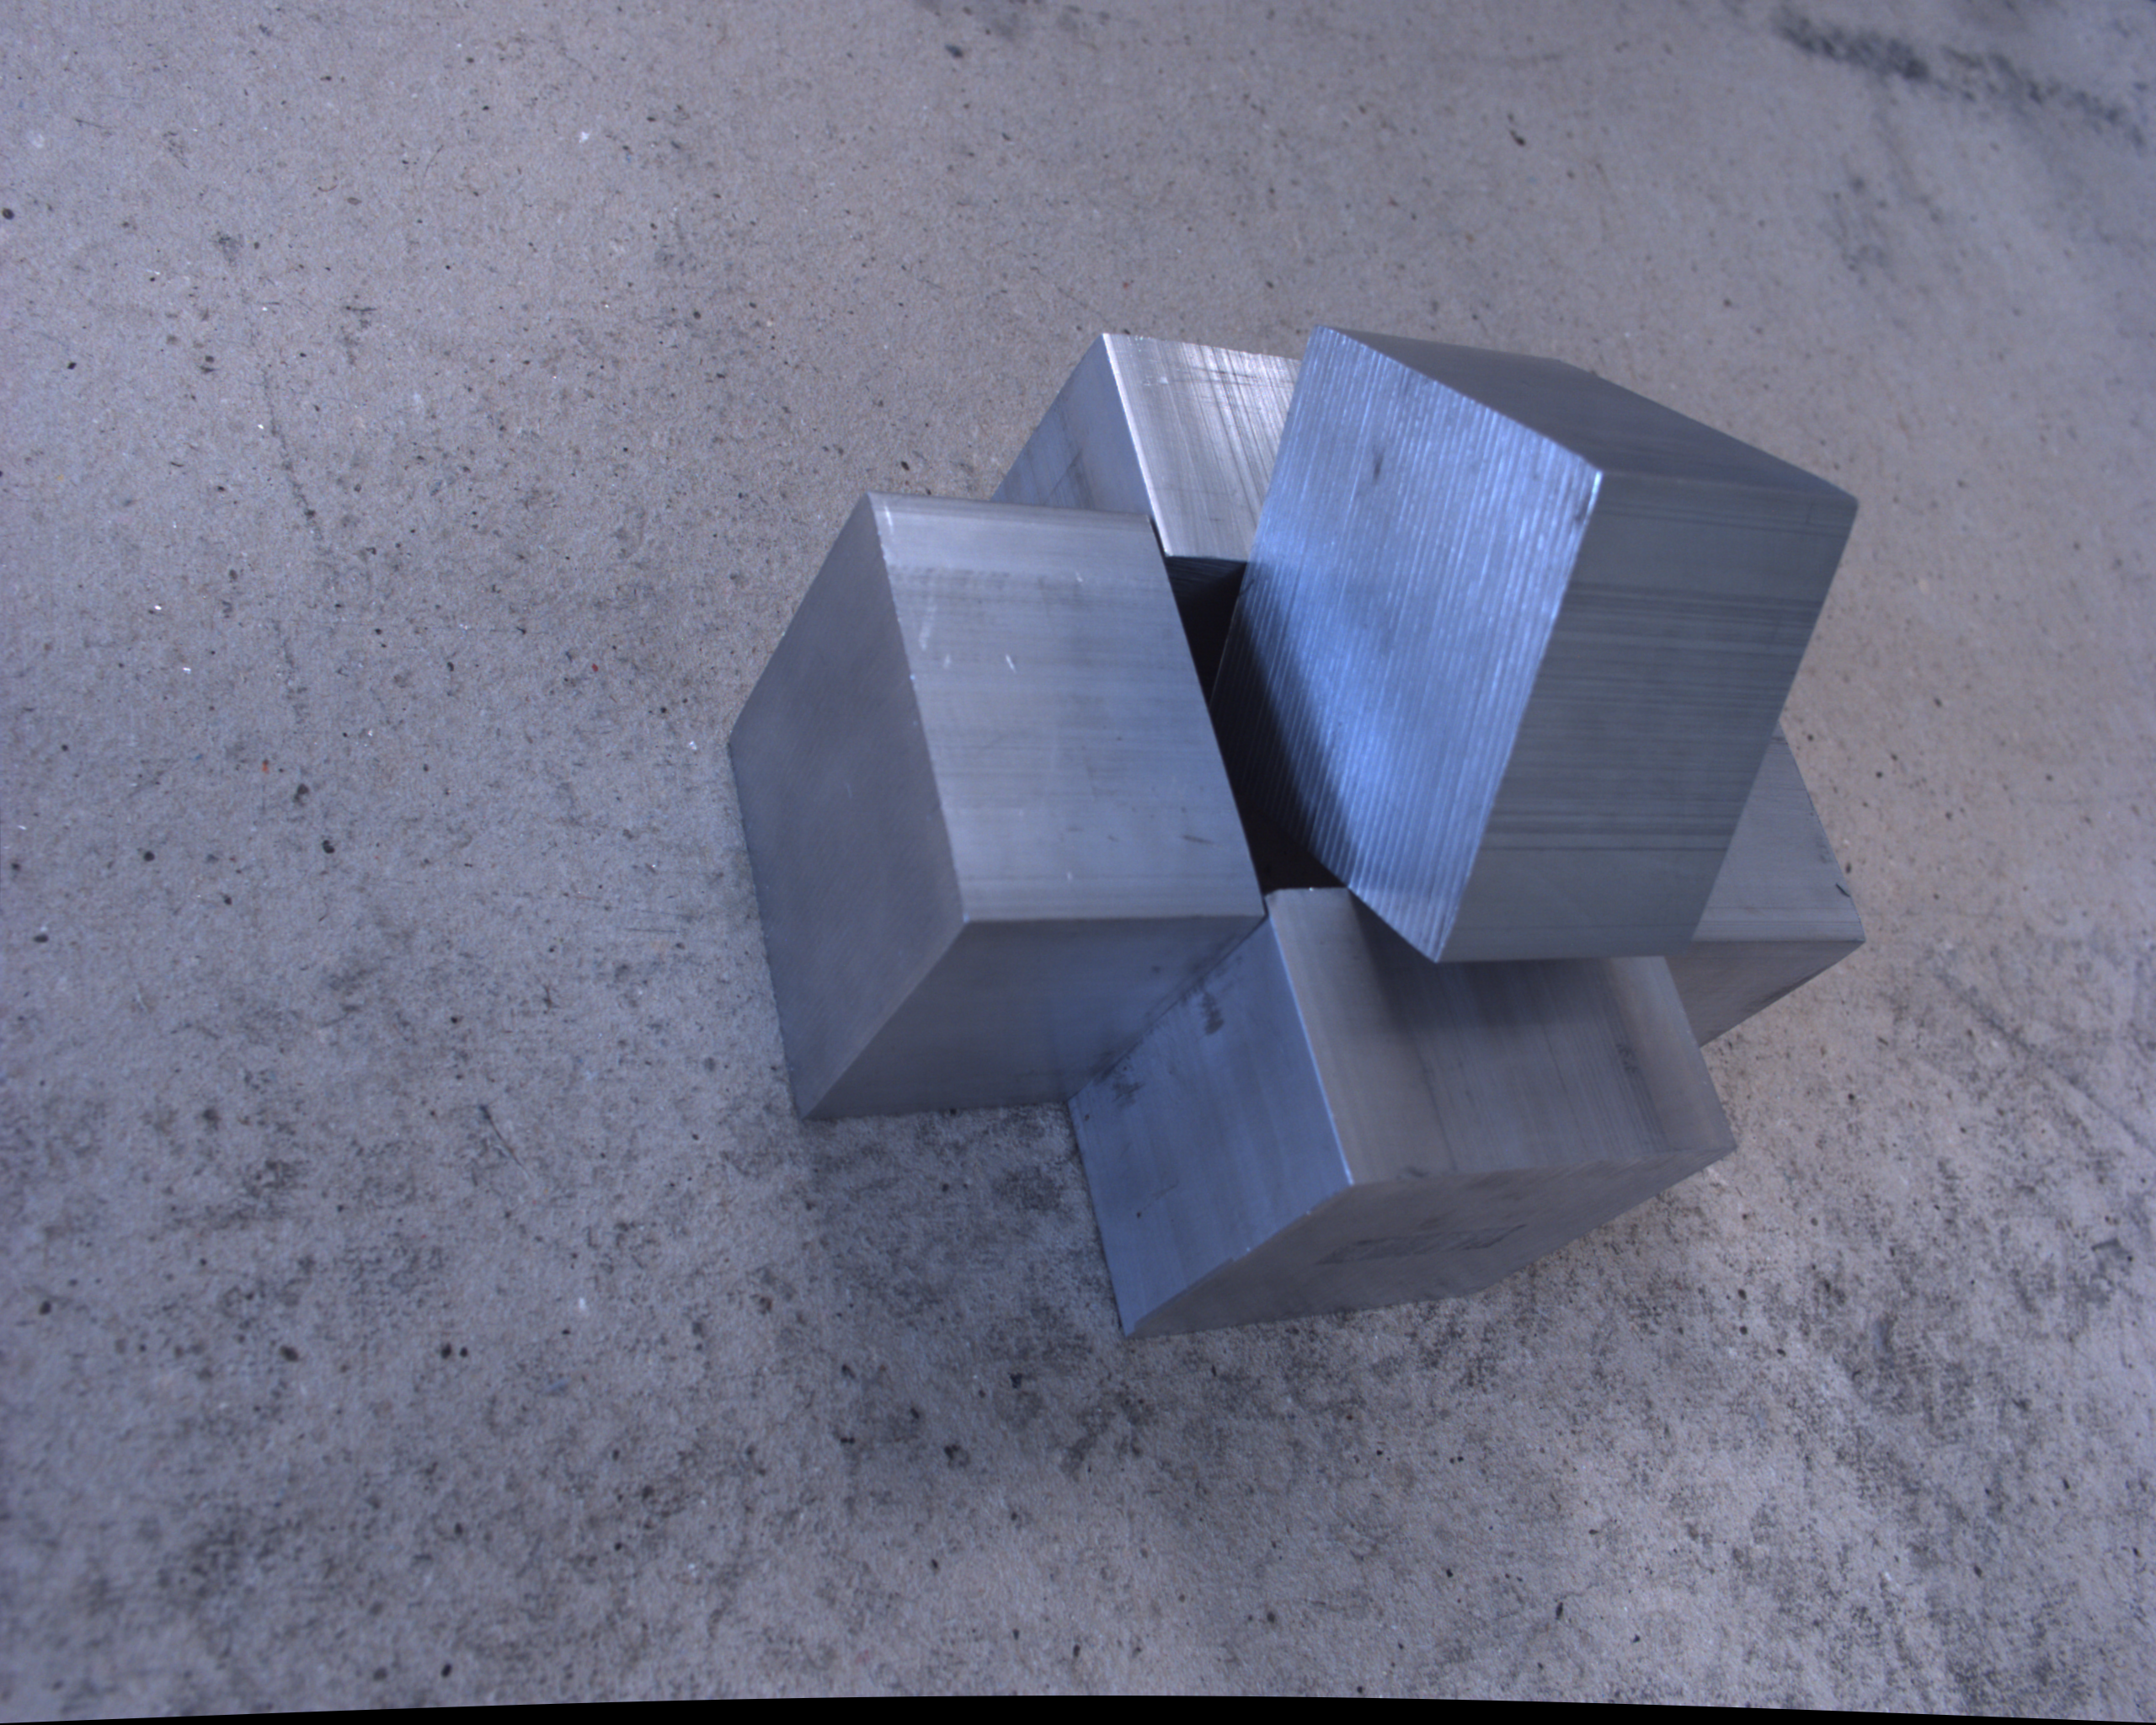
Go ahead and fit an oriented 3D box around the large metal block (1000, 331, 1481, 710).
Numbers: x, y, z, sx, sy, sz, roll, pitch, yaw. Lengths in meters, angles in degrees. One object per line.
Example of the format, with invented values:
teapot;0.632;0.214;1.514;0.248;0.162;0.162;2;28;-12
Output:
large metal block;0.028;-0.056;0.420;0.081;0.080;0.050;1;62;-28

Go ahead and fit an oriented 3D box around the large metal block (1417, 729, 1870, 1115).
large metal block;0.100;-0.002;0.425;0.050;0.080;0.080;1;61;-28

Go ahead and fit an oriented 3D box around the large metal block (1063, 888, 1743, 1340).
large metal block;0.054;0.045;0.372;0.081;0.080;0.050;0;62;-28

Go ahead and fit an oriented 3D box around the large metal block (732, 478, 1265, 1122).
large metal block;-0.018;-0.008;0.364;0.050;0.080;0.080;0;62;-28

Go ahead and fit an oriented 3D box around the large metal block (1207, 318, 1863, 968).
large metal block;0.069;-0.037;0.346;0.050;0.079;0.080;1;27;-28
